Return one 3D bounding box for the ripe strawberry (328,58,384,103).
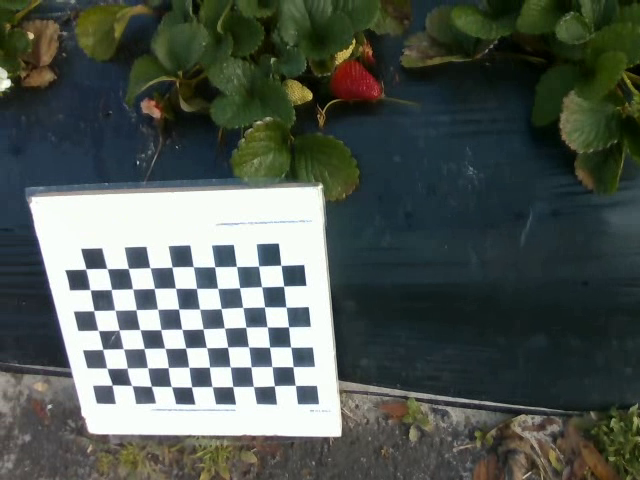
[{"bbox_3d":[0.031,-0.142,0.690,0.064,0.051,0.043,29,22,-1],"label":"ripe strawberry"}]
